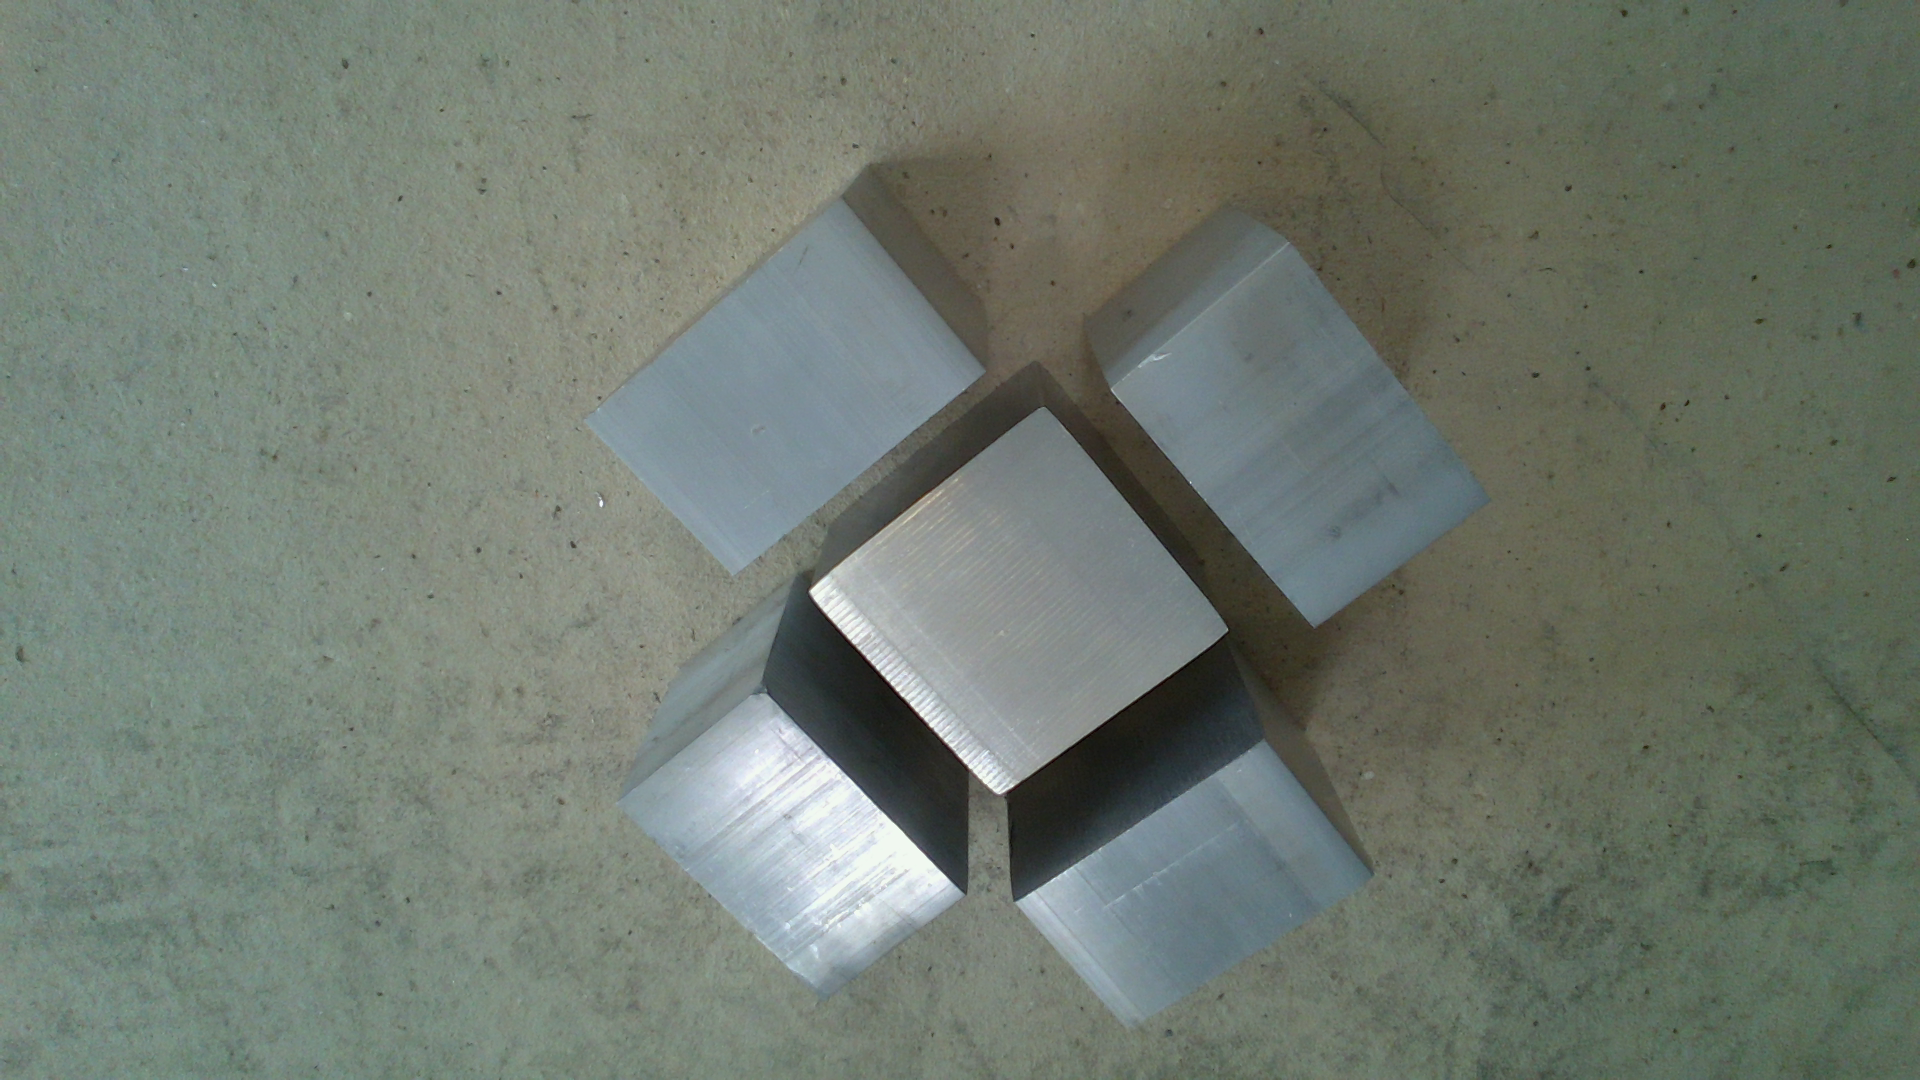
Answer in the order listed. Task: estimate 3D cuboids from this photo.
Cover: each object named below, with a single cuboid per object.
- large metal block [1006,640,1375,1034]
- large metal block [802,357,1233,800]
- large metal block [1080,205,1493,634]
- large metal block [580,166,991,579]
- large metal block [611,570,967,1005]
[{"bbox_3d":[0.060,0.078,0.393,0.080,0.080,0.050,-36,105,12],"label":"large metal block"},{"bbox_3d":[0.015,0.010,0.382,0.080,0.050,0.080,-38,106,13],"label":"large metal block"},{"bbox_3d":[0.079,-0.035,0.352,0.050,0.080,0.080,-39,105,12],"label":"large metal block"},{"bbox_3d":[-0.040,-0.046,0.348,0.080,0.080,0.050,-38,106,13],"label":"large metal block"},{"bbox_3d":[-0.043,0.067,0.389,0.050,0.080,0.080,-38,106,13],"label":"large metal block"}]
